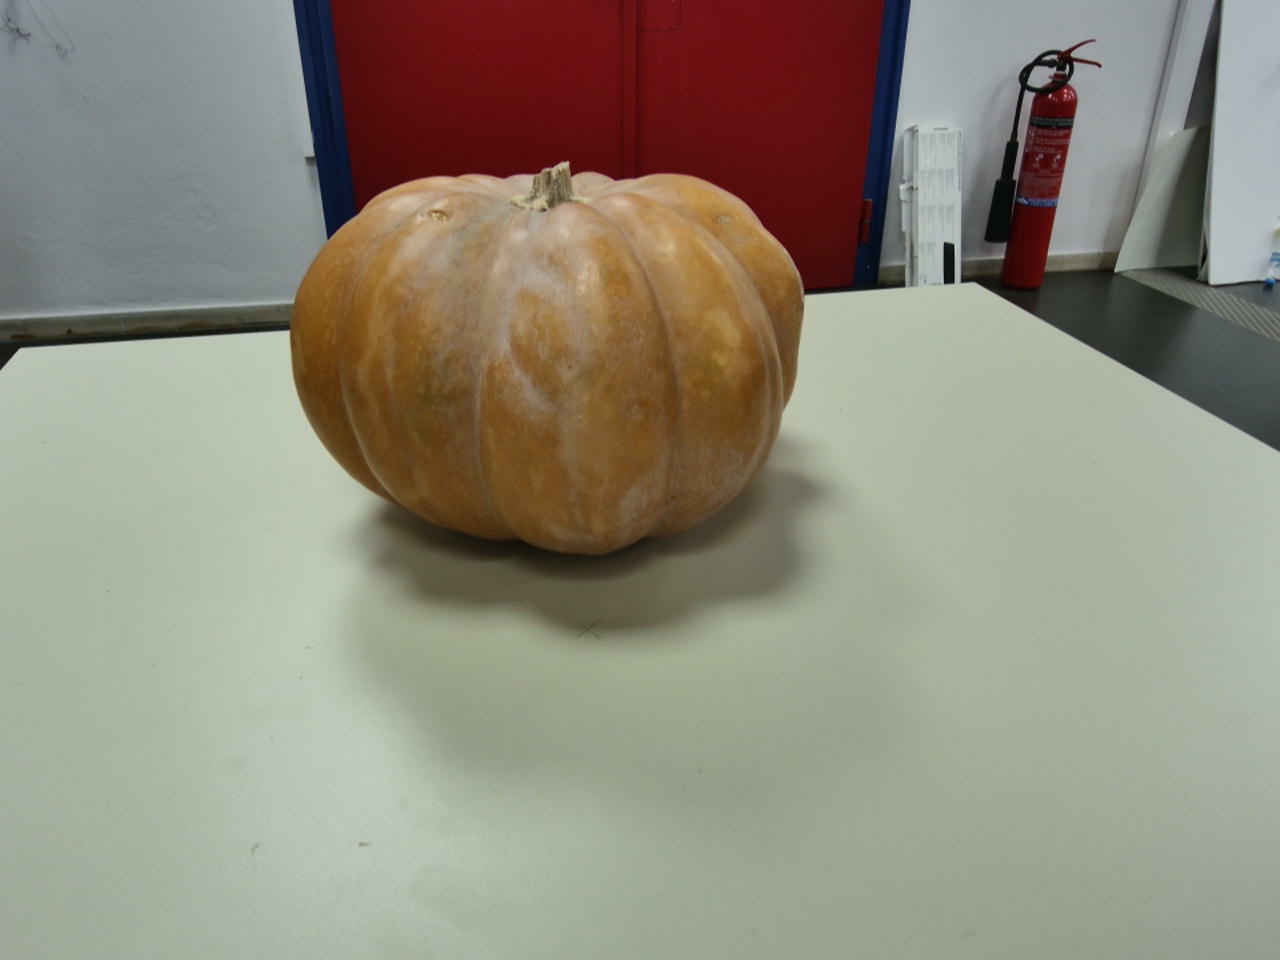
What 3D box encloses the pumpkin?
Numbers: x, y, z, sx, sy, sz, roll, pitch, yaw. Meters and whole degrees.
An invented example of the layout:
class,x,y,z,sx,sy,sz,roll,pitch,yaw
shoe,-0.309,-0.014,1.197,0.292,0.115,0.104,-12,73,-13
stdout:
class,x,y,z,sx,sy,sz,roll,pitch,yaw
pumpkin,-0.043,-0.071,0.525,0.277,0.181,0.277,0,26,0
